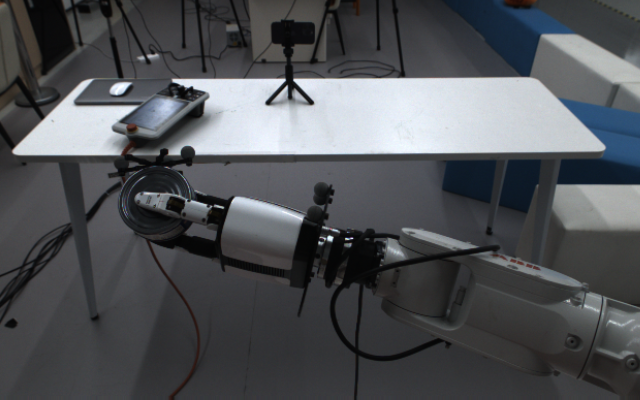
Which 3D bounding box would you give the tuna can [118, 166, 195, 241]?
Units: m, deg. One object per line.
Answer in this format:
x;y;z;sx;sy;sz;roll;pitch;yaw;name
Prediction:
-0.186;0.010;0.567;0.085;0.034;0.085;0;72;-2;tuna can
